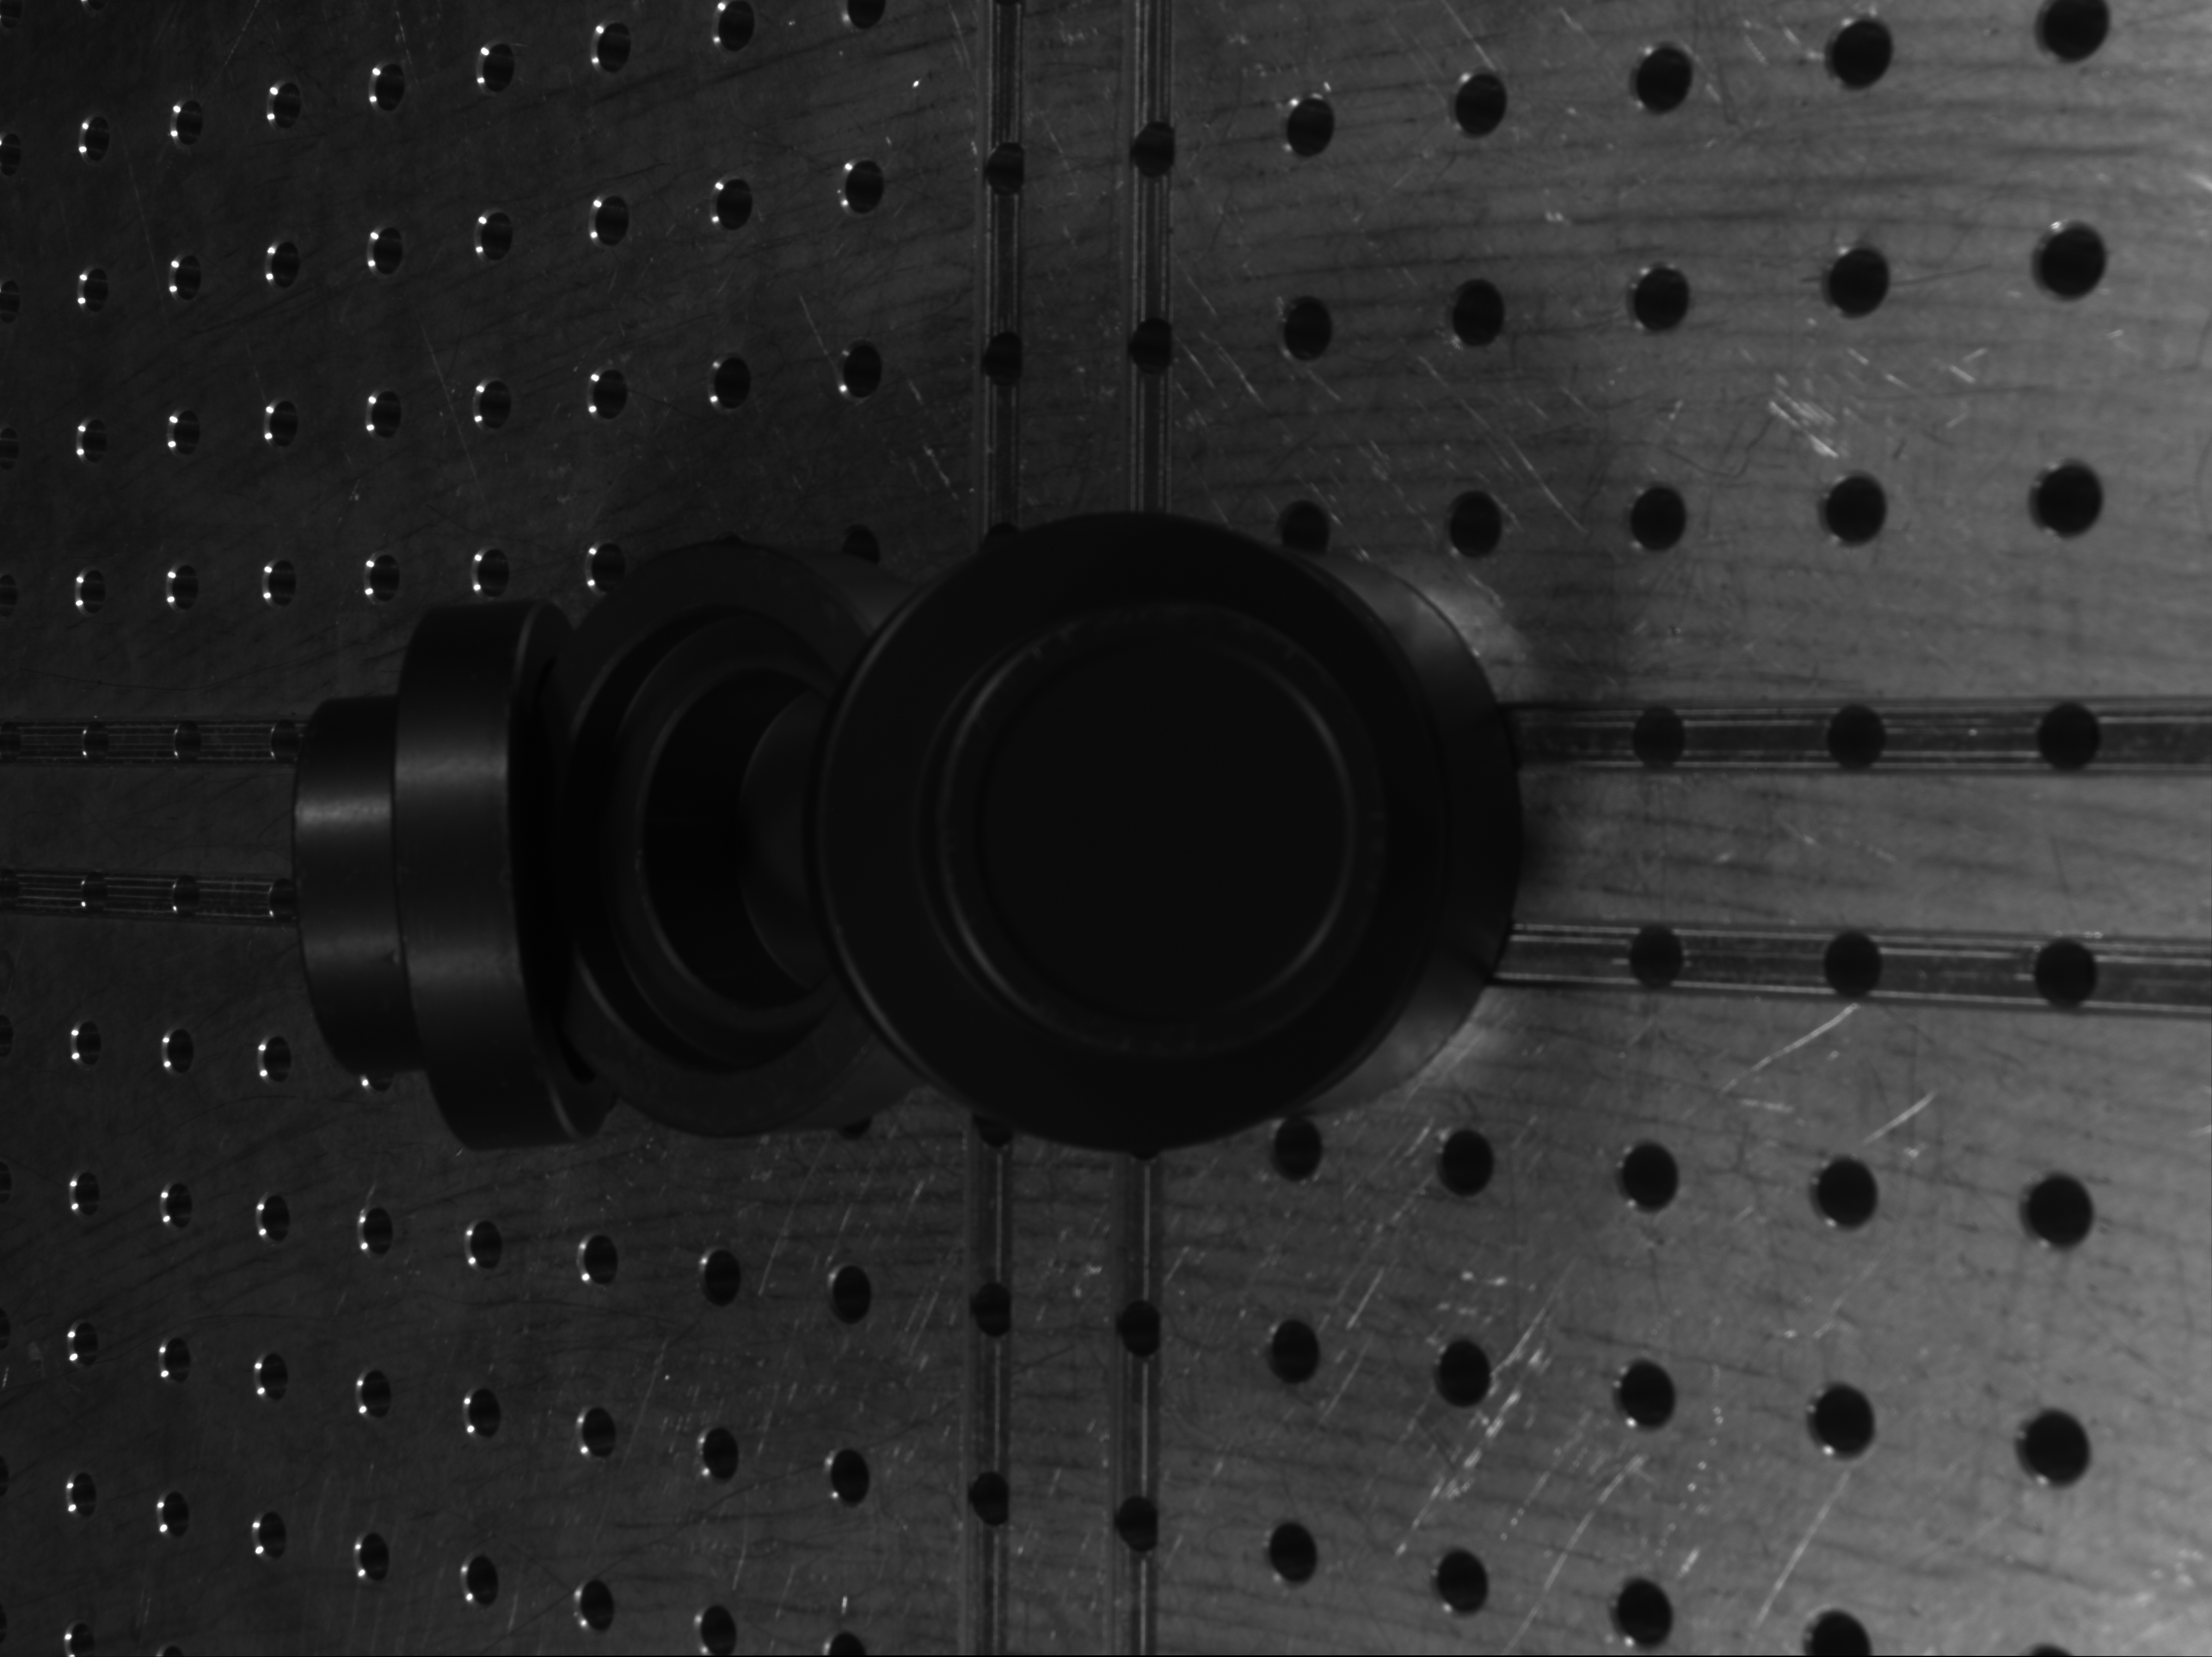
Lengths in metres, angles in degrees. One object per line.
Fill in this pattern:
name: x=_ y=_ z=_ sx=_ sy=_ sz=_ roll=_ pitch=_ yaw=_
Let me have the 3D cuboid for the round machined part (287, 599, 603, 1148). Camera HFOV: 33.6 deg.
round machined part: x=-0.118 y=0.009 z=0.659 sx=0.042 sy=0.098 sz=0.098 roll=-4 pitch=86 yaw=2

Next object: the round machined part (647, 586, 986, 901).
round machined part: x=-0.059 y=0.002 z=0.677 sx=0.098 sy=0.042 sz=0.098 roll=0 pitch=90 yaw=39

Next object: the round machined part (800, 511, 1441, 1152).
round machined part: x=0.004 y=0.000 z=0.559 sx=0.042 sy=0.098 sz=0.098 roll=180 pitch=90 yaw=-80

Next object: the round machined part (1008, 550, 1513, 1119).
round machined part: x=0.016 y=0.001 z=0.615 sx=0.098 sy=0.042 sz=0.098 roll=0 pitch=90 yaw=39

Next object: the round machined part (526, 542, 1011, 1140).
round machined part: x=-0.052 y=0.002 z=0.616 sx=0.098 sy=0.042 sz=0.098 roll=0 pitch=90 yaw=39
